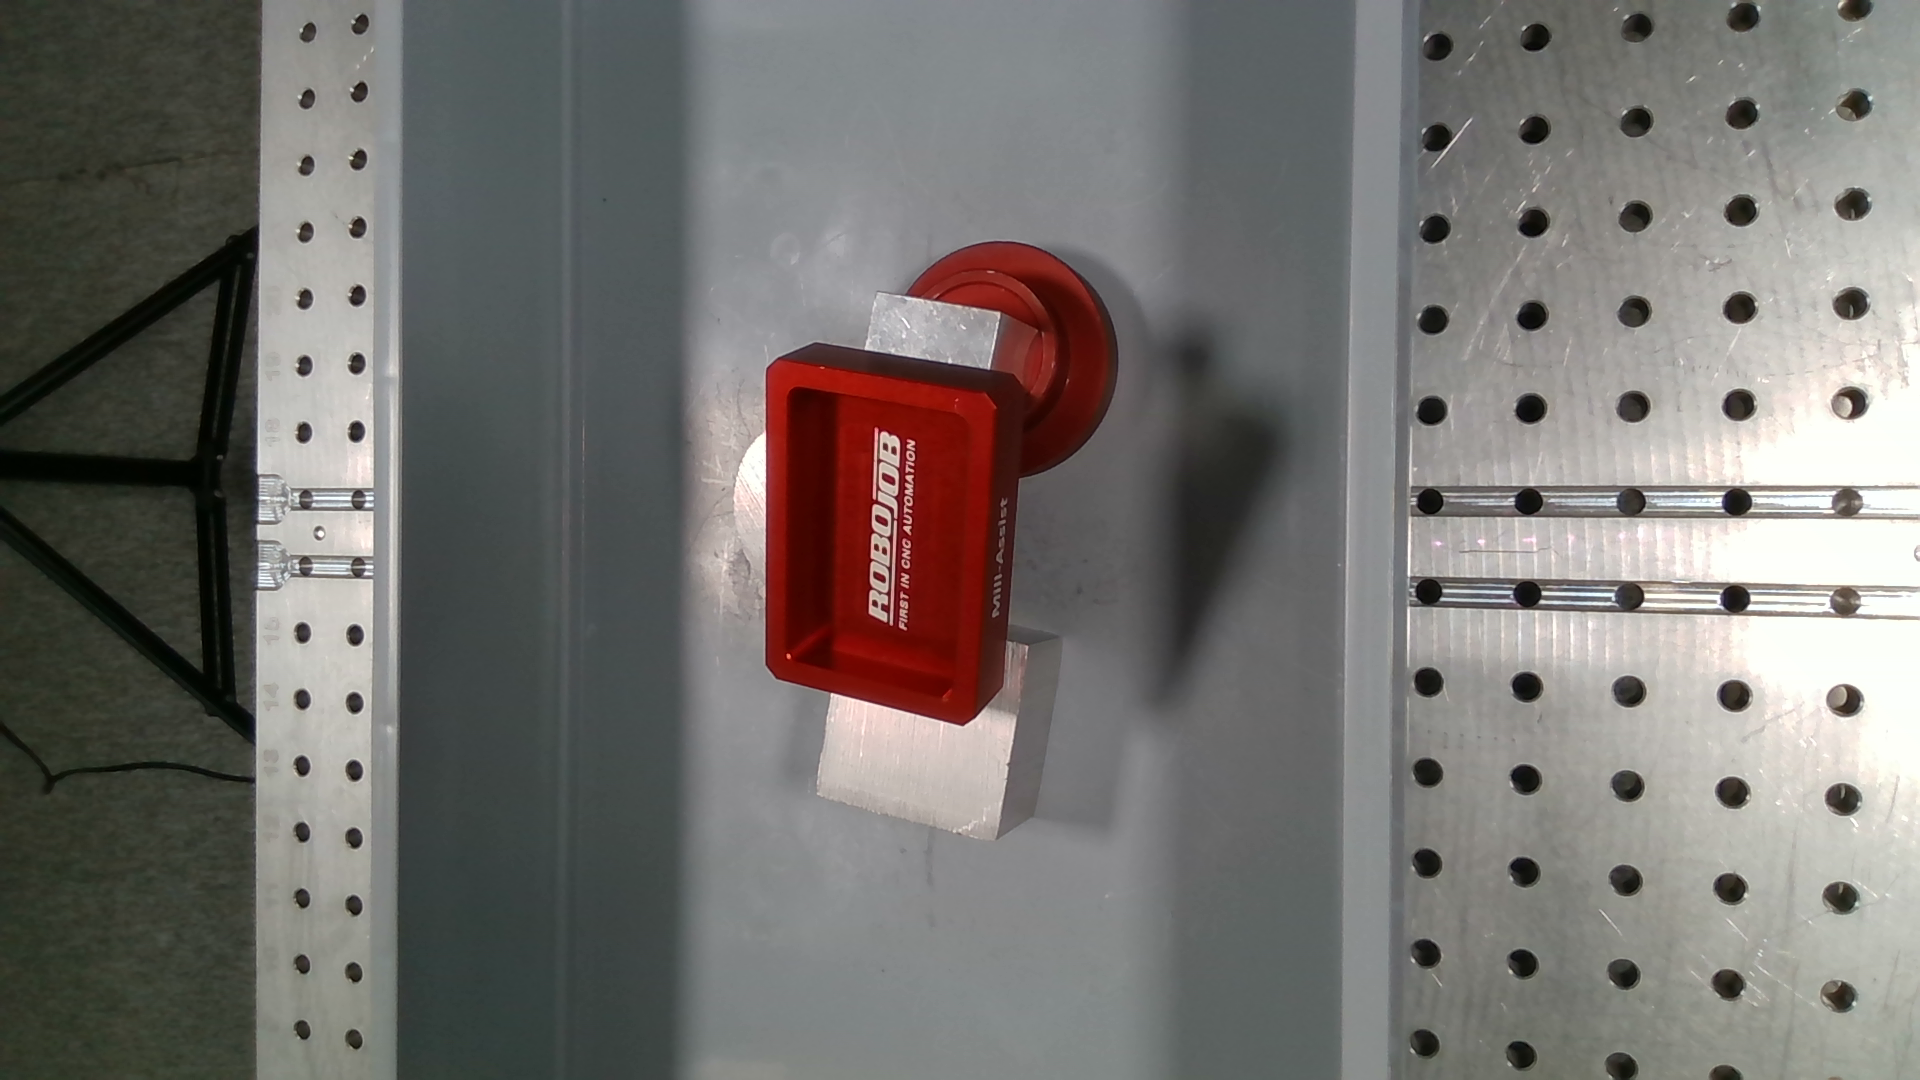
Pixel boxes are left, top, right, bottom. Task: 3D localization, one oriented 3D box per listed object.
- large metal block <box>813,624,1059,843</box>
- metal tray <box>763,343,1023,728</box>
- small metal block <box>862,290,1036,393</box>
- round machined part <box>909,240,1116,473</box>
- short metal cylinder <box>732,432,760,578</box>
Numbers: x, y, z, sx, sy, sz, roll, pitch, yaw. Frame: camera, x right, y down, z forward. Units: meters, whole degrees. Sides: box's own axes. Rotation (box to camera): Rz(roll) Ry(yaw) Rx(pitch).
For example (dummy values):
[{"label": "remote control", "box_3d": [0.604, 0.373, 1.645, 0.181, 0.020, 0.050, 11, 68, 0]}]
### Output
[{"label": "large metal block", "box_3d": [-0.009, 0.073, 0.574, 0.080, 0.050, 0.080, 10, 94, 20]}, {"label": "metal tray", "box_3d": [-0.027, -0.002, 0.517, 0.090, 0.030, 0.130, 12, 114, 20]}, {"label": "small metal block", "box_3d": [-0.003, -0.075, 0.526, 0.050, 0.050, 0.025, 13, 95, 20]}, {"label": "round machined part", "box_3d": [0.013, -0.075, 0.570, 0.098, 0.042, 0.098, 0, 91, 20]}, {"label": "short metal cylinder", "box_3d": [-0.049, -0.014, 0.576, 0.080, 0.050, 0.080, 9, 107, 31]}]
